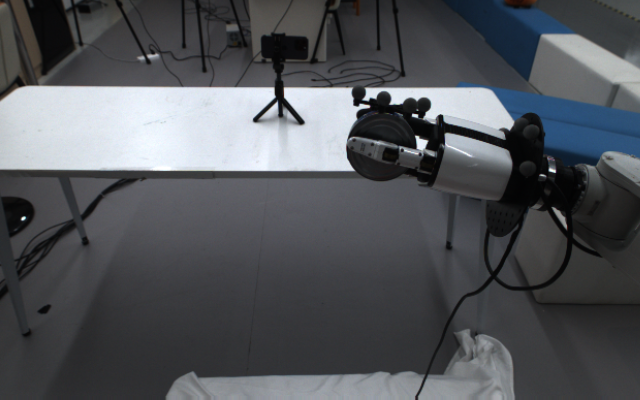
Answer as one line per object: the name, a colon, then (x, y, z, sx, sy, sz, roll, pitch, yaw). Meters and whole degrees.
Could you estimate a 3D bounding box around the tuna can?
tuna can: (0.078, -0.071, 0.606, 0.085, 0.085, 0.034, 5, 18, 4)
